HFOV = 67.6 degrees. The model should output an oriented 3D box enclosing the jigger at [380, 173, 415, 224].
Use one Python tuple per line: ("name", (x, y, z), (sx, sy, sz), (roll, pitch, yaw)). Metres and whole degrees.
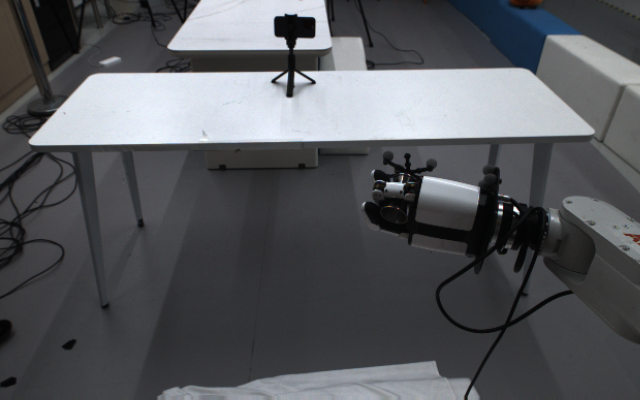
("jigger", (0.125, -0.004, 0.743), (0.043, 0.043, 0.071), (13, 58, 16))
